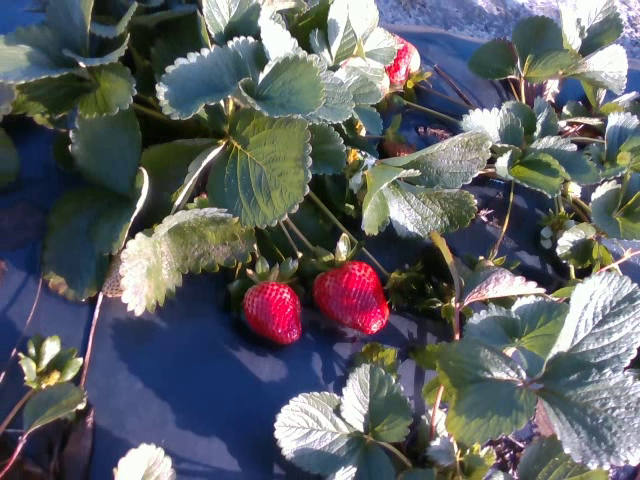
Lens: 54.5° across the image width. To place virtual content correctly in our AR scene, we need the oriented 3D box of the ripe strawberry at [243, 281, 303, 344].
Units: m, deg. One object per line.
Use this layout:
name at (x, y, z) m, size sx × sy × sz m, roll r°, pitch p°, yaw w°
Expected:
ripe strawberry at (-0.027, 0.047, 0.374) m, size 0.043 × 0.052 × 0.037 m, roll -40°, pitch -31°, yaw -2°

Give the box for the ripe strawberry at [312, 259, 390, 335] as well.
ripe strawberry at (0.025, 0.040, 0.393) m, size 0.052 × 0.058 × 0.046 m, roll -31°, pitch -34°, yaw -5°
